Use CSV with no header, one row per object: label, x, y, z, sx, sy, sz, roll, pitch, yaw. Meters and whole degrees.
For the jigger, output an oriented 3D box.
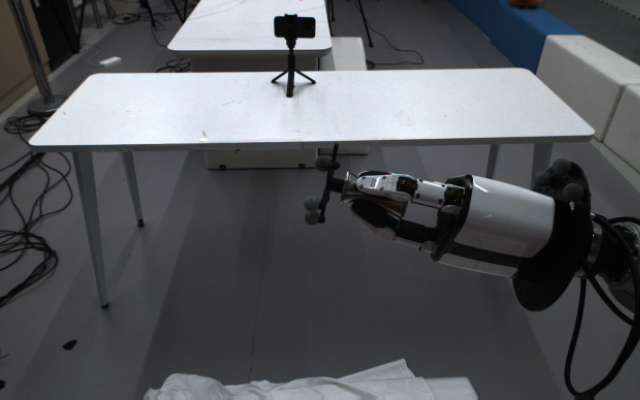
jigger,0.063,-0.011,0.521,0.071,0.043,0.043,13,36,4
